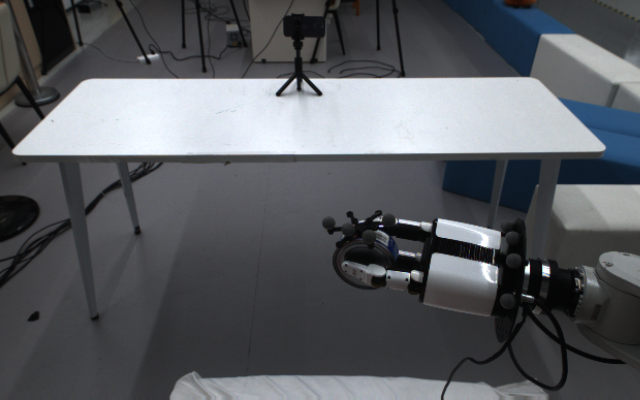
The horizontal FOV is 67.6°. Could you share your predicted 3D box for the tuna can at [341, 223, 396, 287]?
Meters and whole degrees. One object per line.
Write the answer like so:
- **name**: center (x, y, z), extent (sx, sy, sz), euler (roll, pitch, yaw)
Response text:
- **tuna can**: center (0.064, 0.077, 0.650), extent (0.085, 0.085, 0.034), euler (10, 33, 11)
